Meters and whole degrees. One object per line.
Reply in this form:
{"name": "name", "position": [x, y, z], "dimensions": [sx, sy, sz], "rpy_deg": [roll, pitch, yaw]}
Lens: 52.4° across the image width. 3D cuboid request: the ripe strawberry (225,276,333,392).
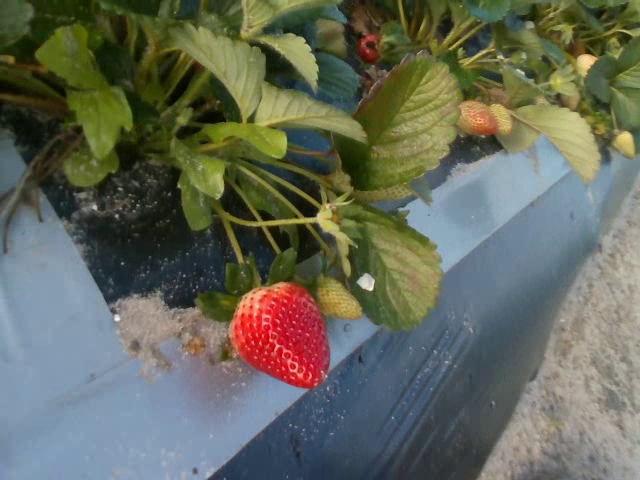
{"name": "ripe strawberry", "position": [-0.005, 0.019, 0.120], "dimensions": [0.023, 0.021, 0.026], "rpy_deg": [-16, 48, -26]}
